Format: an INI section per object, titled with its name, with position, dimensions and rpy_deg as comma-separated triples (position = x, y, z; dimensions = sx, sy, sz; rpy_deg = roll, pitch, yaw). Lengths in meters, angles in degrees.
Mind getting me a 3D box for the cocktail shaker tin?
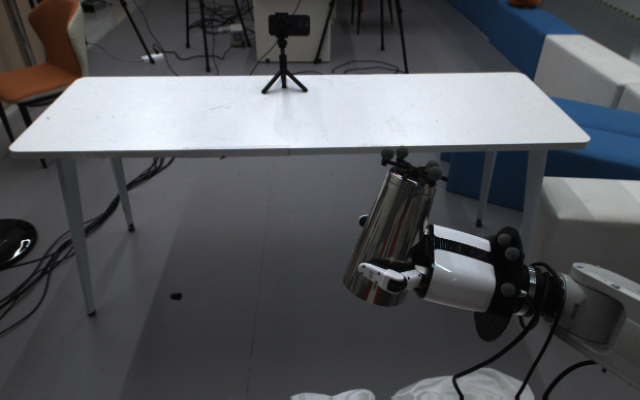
[cocktail shaker tin]
position = 0.099, 0.045, 0.652
dimensions = 0.093, 0.170, 0.093
rpy_deg = 14, 20, -5
